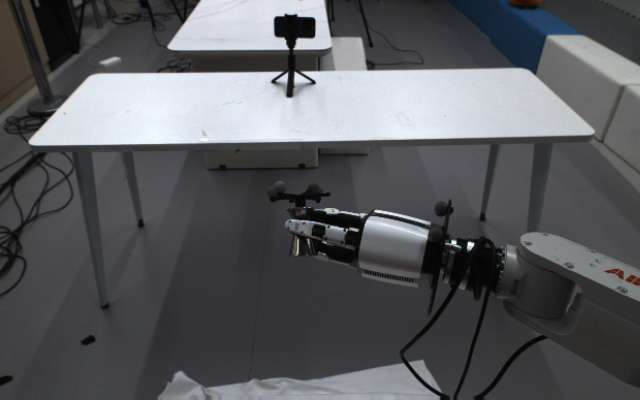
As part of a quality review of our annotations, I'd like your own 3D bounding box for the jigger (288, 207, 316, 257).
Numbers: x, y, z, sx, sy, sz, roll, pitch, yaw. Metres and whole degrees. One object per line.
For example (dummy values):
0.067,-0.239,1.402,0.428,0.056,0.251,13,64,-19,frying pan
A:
-0.027,0.045,0.685,0.043,0.071,0.043,-2,-7,0,jigger
